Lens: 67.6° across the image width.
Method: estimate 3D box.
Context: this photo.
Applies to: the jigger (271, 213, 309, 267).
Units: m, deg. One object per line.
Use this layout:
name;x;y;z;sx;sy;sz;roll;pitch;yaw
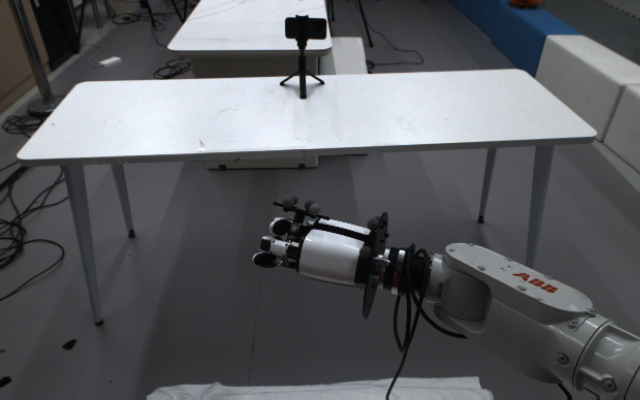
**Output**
jigger;-0.041;0.065;0.735;0.043;0.071;0.043;17;2;-1
